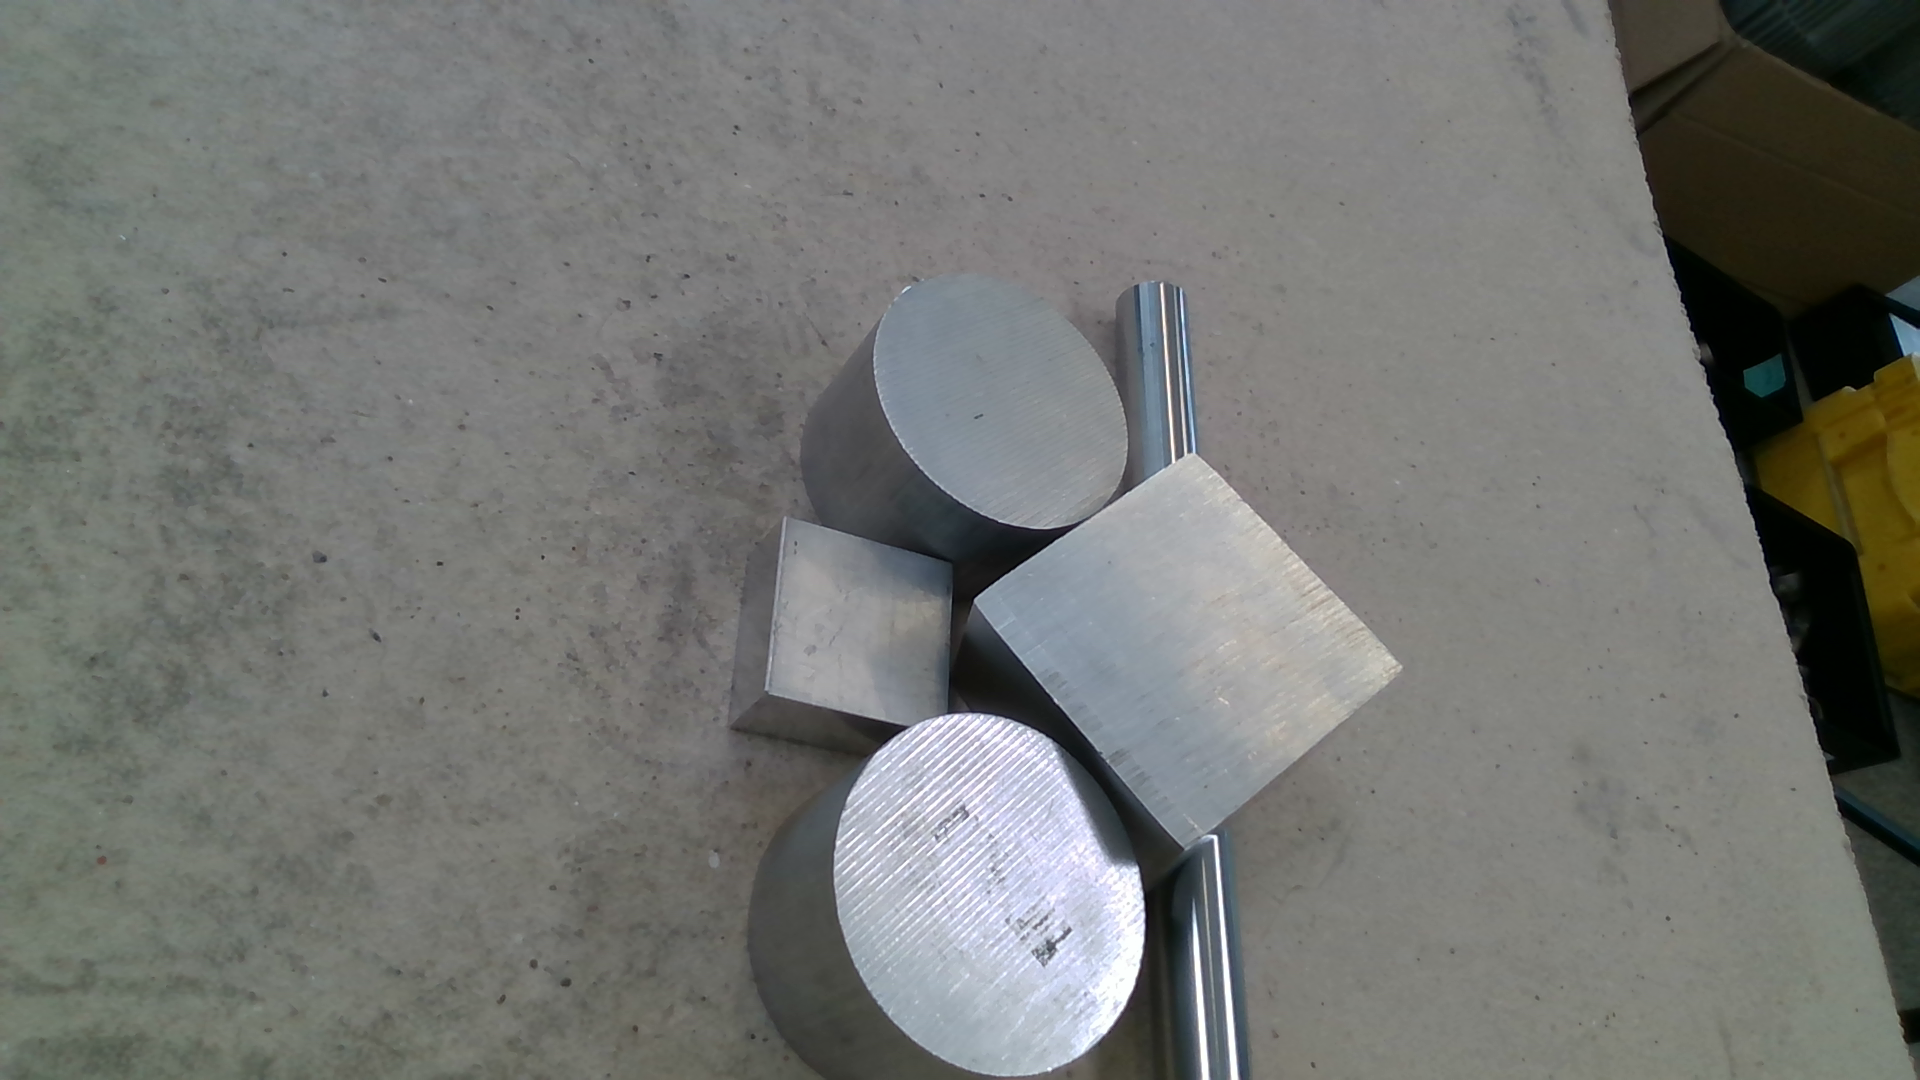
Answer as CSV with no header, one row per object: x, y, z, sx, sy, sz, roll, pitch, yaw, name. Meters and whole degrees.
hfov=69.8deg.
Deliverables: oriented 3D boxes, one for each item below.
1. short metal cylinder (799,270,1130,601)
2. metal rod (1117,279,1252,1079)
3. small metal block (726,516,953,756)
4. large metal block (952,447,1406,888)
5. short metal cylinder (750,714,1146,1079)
0.001,-0.029,0.393,0.080,0.050,0.080,14,59,-25,short metal cylinder
0.065,0.049,0.407,0.025,0.025,0.299,15,58,-24,metal rod
-0.031,0.027,0.361,0.050,0.025,0.050,16,58,-24,small metal block
0.055,0.035,0.369,0.080,0.050,0.080,-33,71,-23,large metal block
-0.003,0.088,0.328,0.080,0.050,0.080,14,59,-25,short metal cylinder
